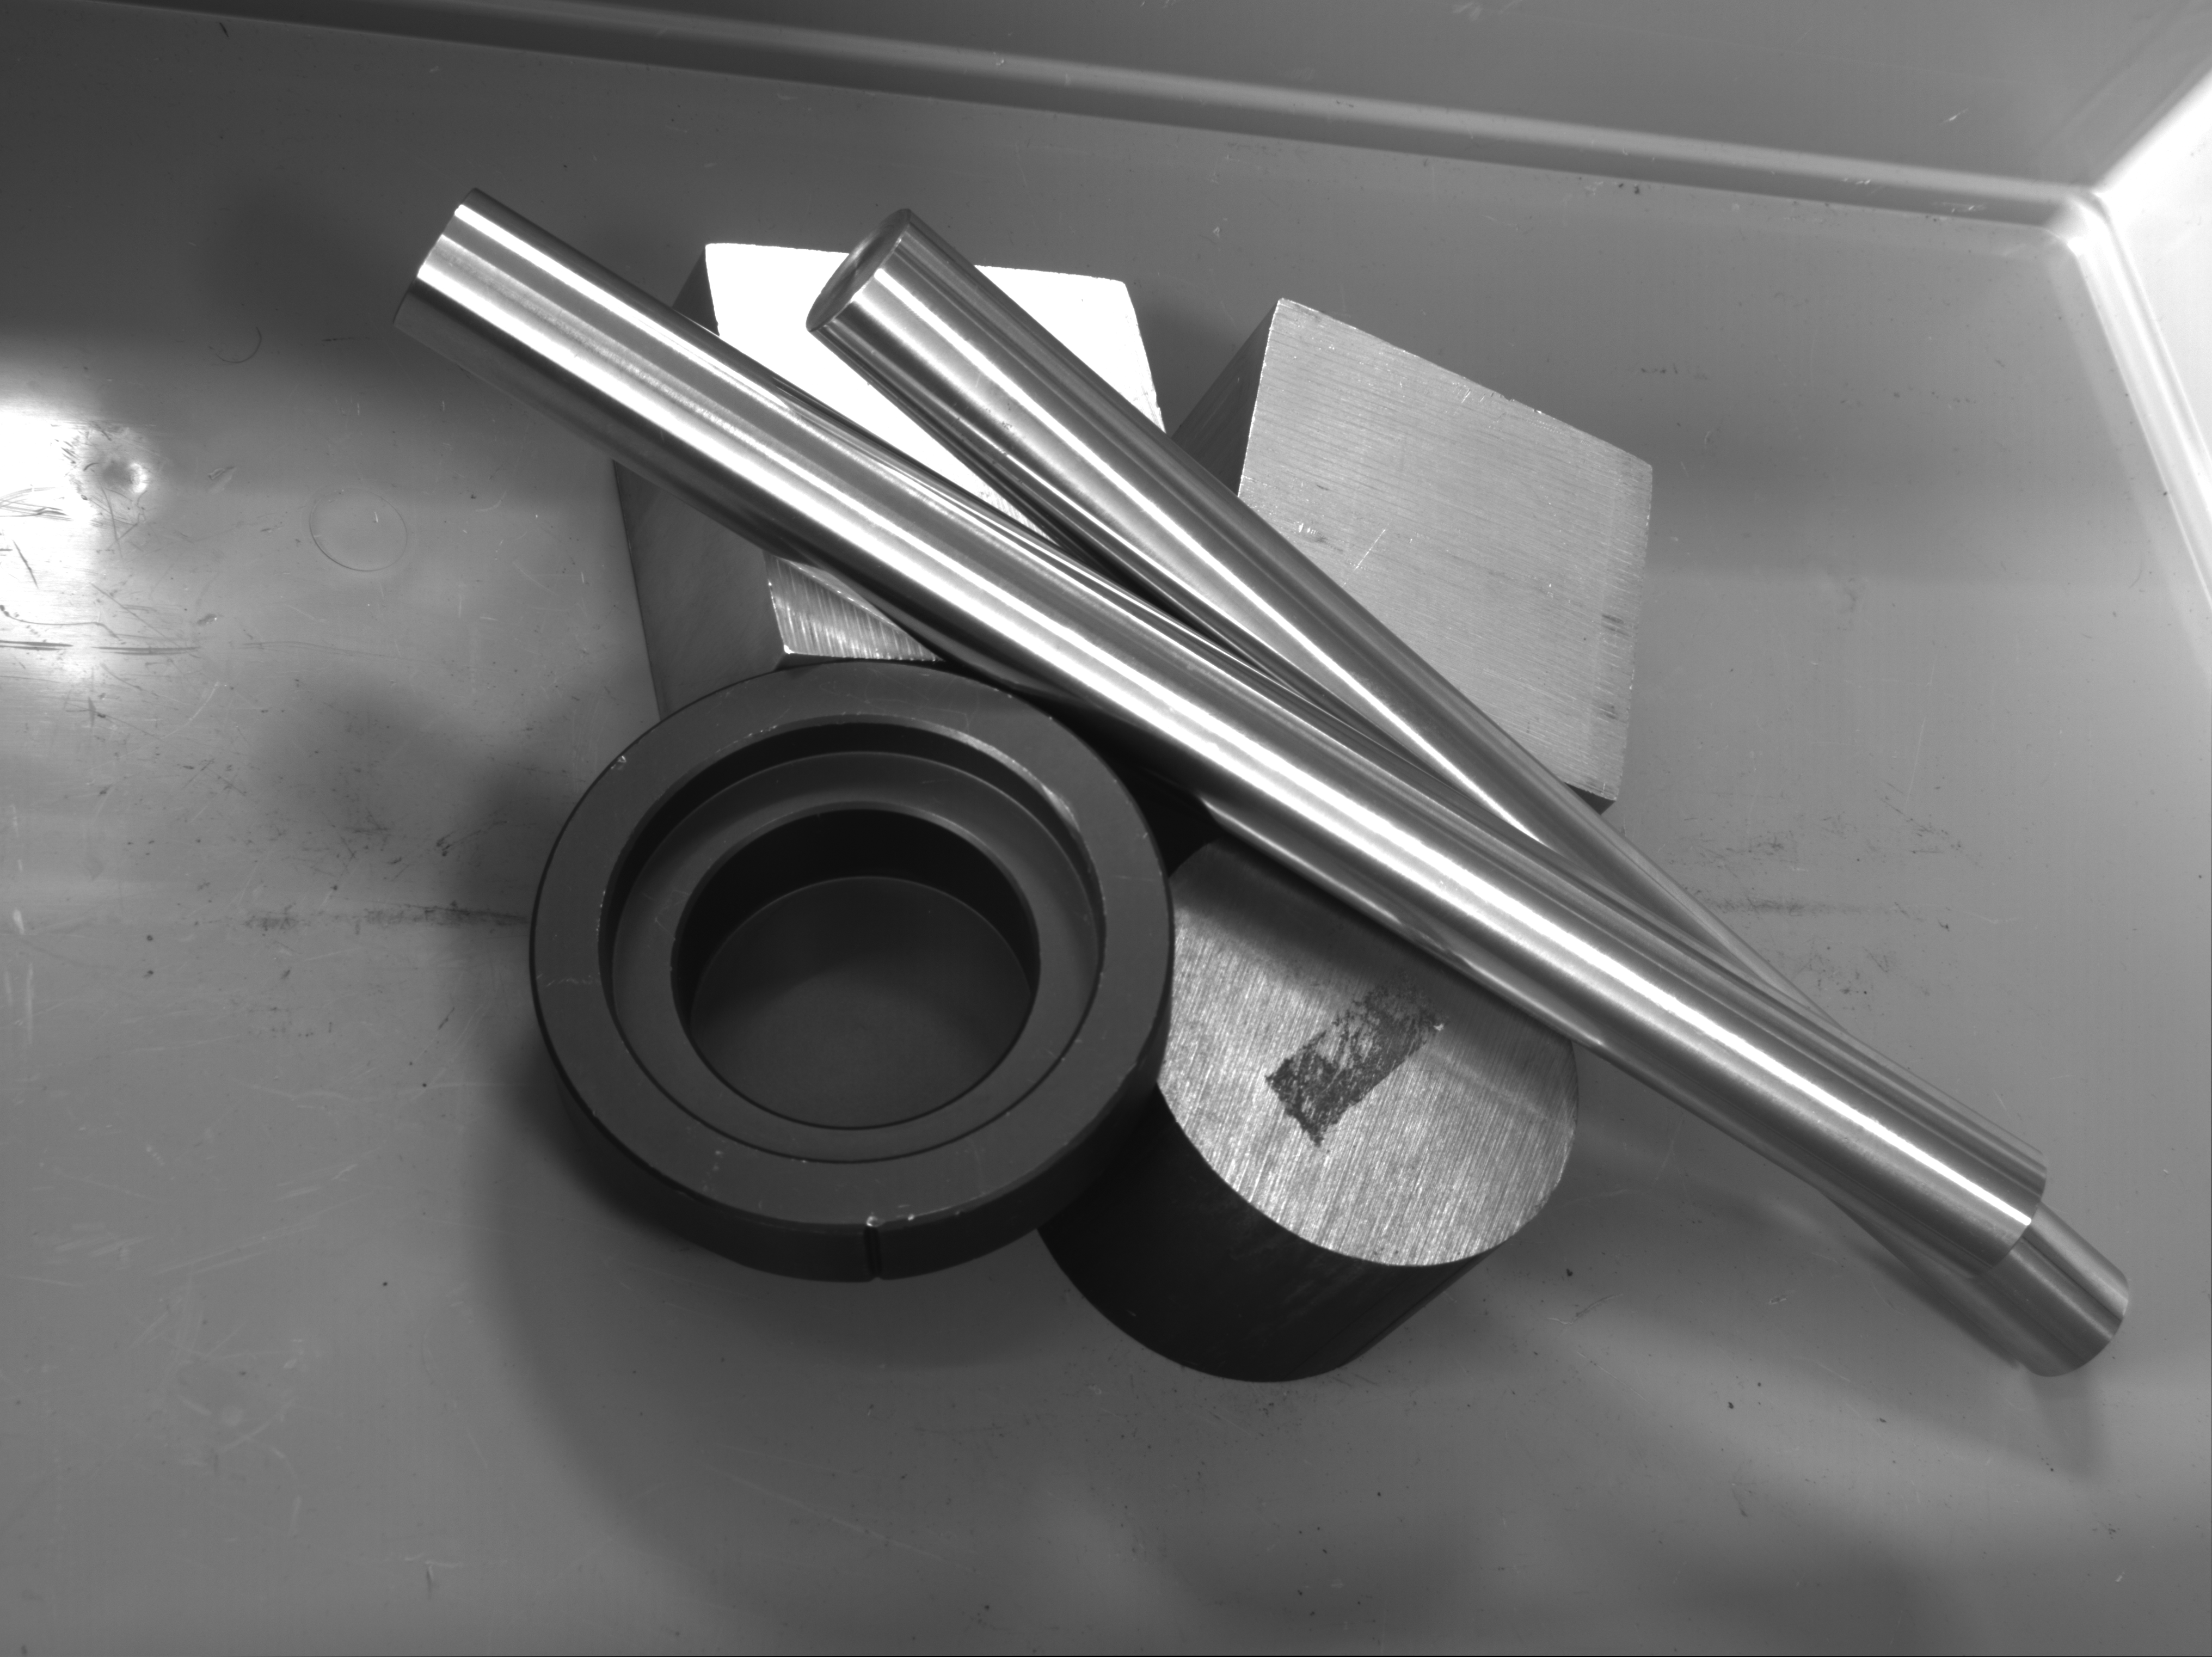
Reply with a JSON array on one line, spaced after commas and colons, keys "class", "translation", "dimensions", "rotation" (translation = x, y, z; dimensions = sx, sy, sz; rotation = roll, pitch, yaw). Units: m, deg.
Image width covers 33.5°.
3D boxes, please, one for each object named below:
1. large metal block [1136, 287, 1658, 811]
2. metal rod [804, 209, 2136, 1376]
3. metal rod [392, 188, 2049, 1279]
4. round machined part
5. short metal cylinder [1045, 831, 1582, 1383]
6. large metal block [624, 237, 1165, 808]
[{"class": "large metal block", "translation": [0.050, -0.040, 0.672], "dimensions": [0.080, 0.050, 0.080], "rotation": [22, 53, -15]}, {"class": "metal rod", "translation": [0.070, 0.002, 0.626], "dimensions": [0.301, 0.025, 0.025], "rotation": [39, 49, -20]}, {"class": "metal rod", "translation": [0.023, -0.012, 0.592], "dimensions": [0.300, 0.025, 0.025], "rotation": [31, 52, -9]}, {"class": "round machined part", "translation": [-0.039, 0.026, 0.576], "dimensions": [0.098, 0.042, 0.098], "rotation": [0, 61, -1]}, {"class": "short metal cylinder", "translation": [0.032, 0.045, 0.610], "dimensions": [0.080, 0.050, 0.080], "rotation": [13, 56, -21]}, {"class": "large metal block", "translation": [-0.033, -0.051, 0.631], "dimensions": [0.080, 0.050, 0.080], "rotation": [1, 61, -28]}]
